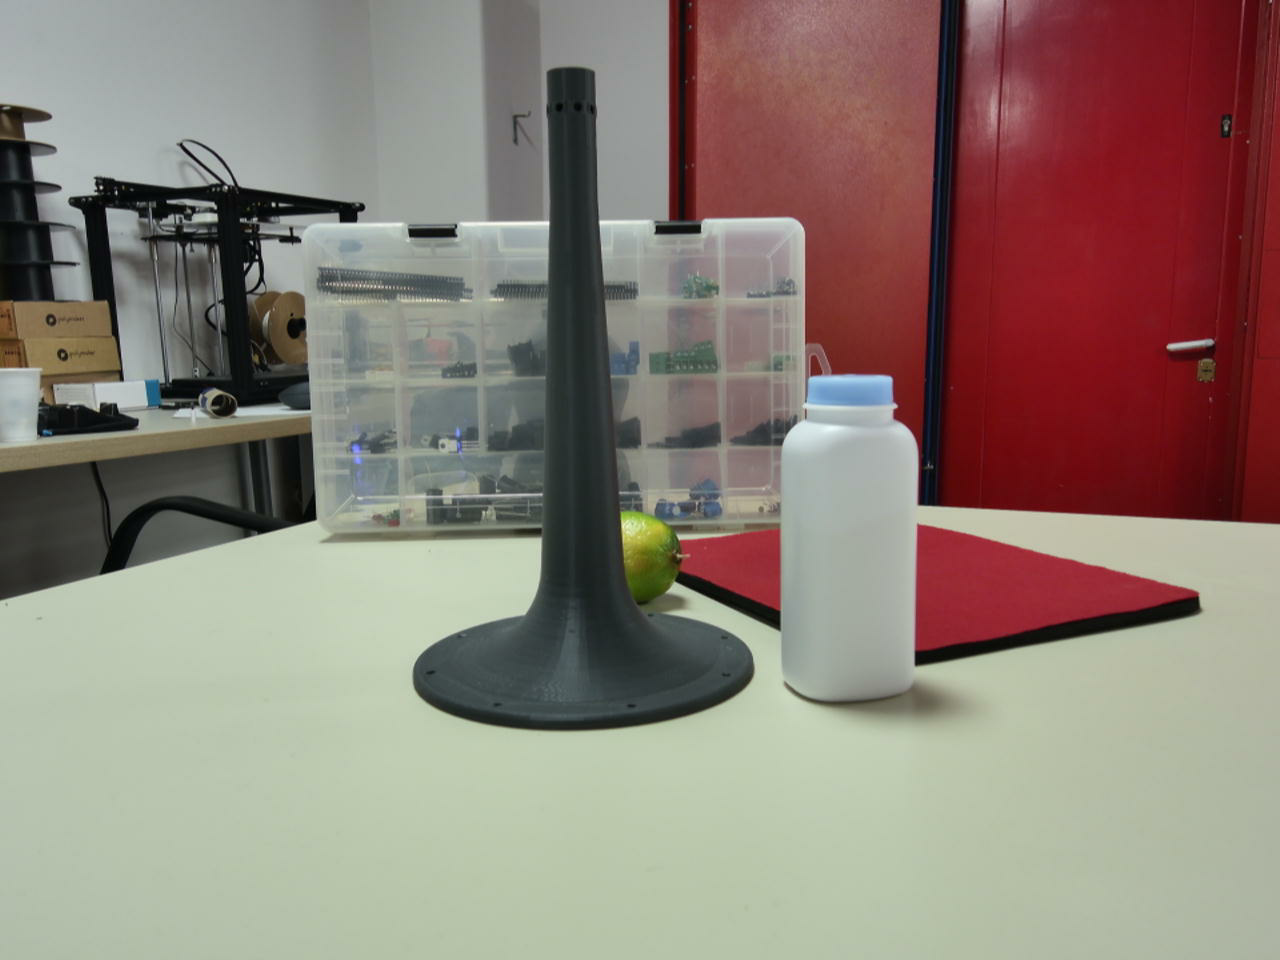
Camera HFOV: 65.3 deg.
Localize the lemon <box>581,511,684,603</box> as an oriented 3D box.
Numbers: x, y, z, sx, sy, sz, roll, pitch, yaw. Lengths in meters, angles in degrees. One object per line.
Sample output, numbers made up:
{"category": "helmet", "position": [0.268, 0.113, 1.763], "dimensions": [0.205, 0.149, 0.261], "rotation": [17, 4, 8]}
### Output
{"category": "lemon", "position": [-0.005, 0.043, 0.558], "dimensions": [0.054, 0.050, 0.055], "rotation": [-3, 6, -16]}
